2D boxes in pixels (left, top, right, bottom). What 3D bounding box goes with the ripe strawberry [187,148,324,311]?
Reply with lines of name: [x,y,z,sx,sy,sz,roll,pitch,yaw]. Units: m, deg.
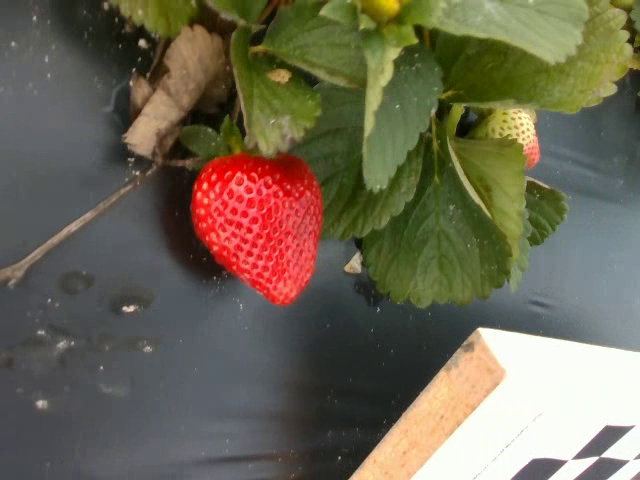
ripe strawberry: [-0.014,-0.003,0.149,0.037,0.046,0.036,-19,-6,1]
